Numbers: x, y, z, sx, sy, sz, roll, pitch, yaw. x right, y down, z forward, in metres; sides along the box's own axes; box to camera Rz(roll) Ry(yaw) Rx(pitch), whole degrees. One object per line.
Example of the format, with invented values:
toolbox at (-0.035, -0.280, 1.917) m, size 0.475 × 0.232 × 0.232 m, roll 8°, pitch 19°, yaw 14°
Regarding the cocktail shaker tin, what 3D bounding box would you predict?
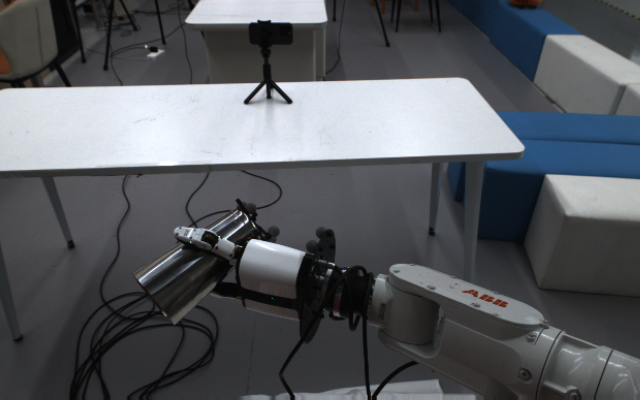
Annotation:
cocktail shaker tin at (-0.170, 0.085, 0.698) m, size 0.170 × 0.093 × 0.093 m, roll -38°, pitch 49°, yaw -23°
